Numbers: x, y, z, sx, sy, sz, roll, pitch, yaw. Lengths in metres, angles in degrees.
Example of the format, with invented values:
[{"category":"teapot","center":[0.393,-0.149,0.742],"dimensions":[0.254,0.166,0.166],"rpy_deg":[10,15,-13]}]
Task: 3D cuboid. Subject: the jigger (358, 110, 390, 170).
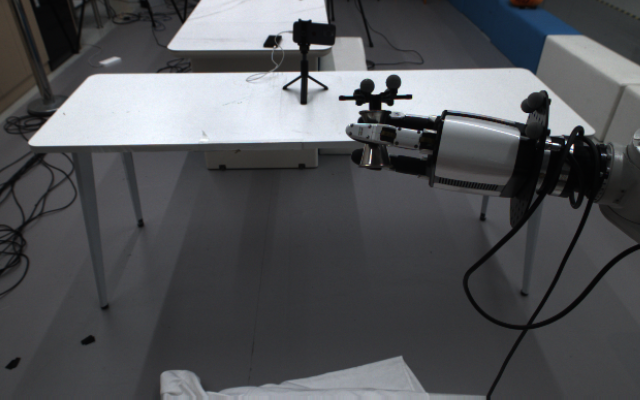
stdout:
[{"category":"jigger","center":[0.068,-0.075,0.599],"dimensions":[0.043,0.071,0.043],"rpy_deg":[-1,2,0]}]
